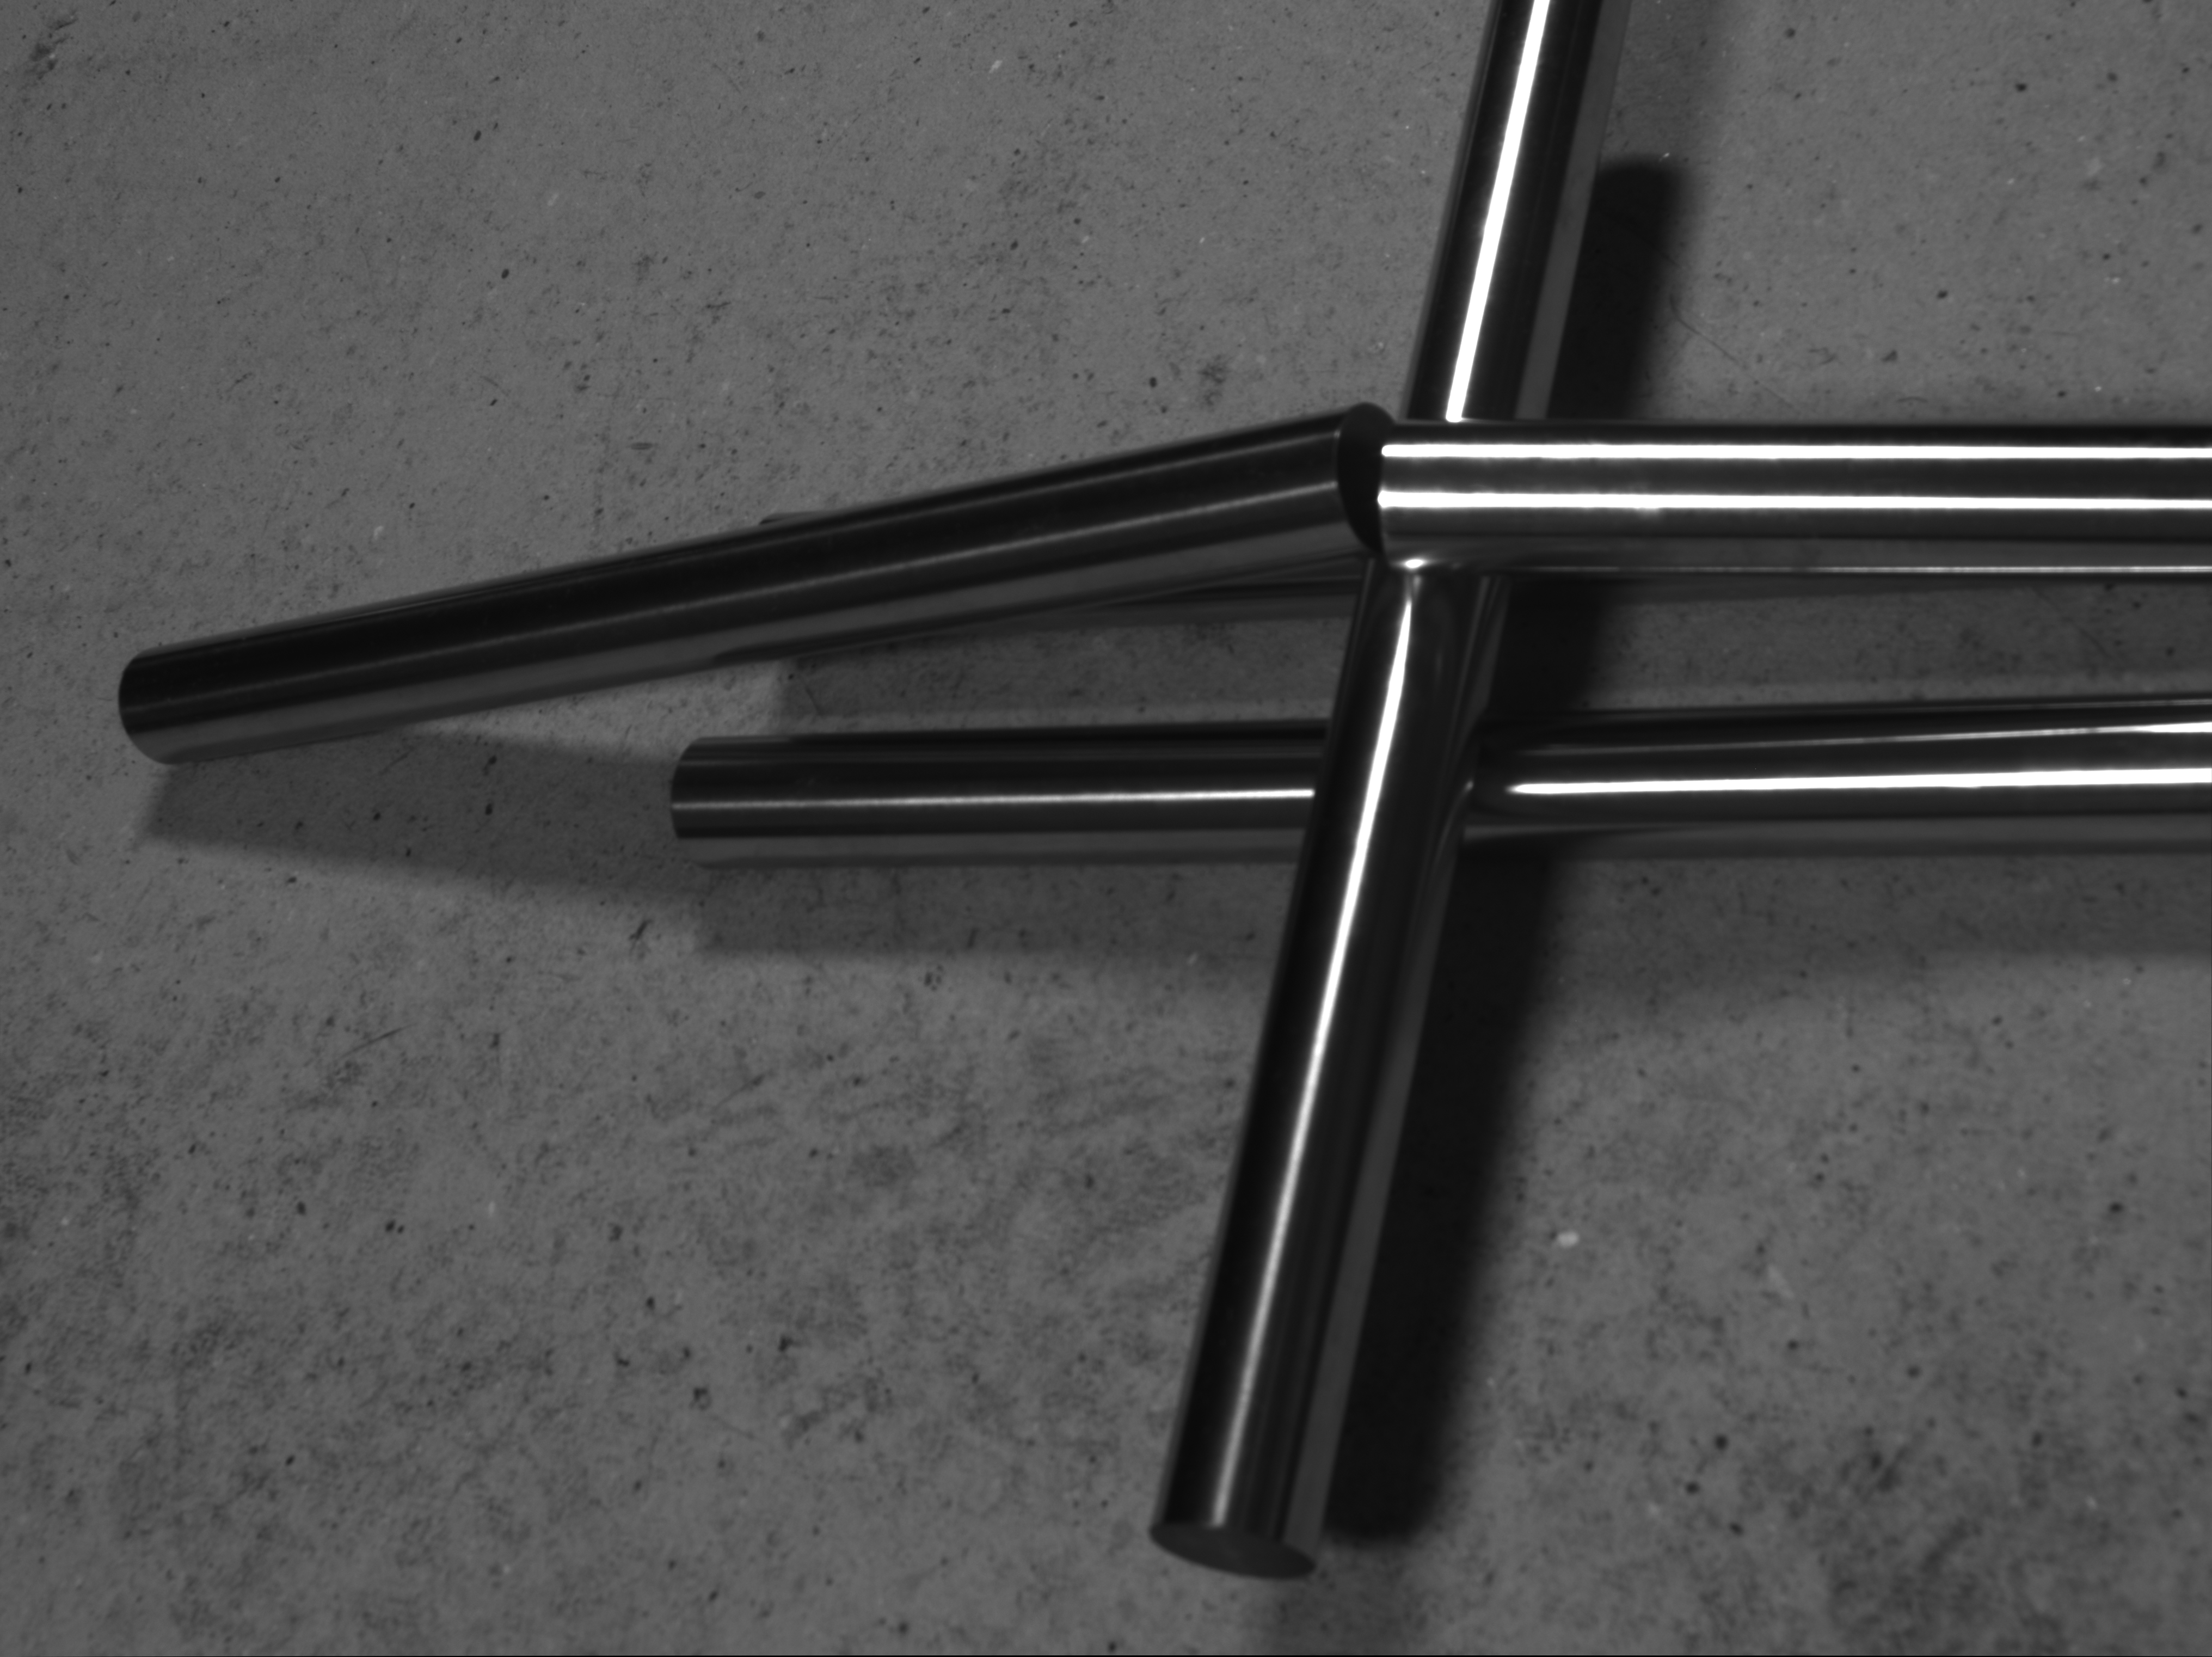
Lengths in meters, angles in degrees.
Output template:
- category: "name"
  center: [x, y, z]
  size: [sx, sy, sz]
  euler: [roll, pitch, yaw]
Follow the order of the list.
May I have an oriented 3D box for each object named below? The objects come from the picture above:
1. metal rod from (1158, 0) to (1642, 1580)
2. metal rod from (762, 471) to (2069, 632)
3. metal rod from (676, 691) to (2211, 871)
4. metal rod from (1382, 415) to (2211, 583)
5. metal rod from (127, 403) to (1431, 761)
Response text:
- category: "metal rod"
  center: [0.053, -0.026, 0.600]
  size: [0.025, 0.025, 0.300]
  euler: [0, 61, 28]
- category: "metal rod"
  center: [0.070, -0.051, 0.637]
  size: [0.299, 0.025, 0.025]
  euler: [-1, 61, 28]
- category: "metal rod"
  center: [0.059, -0.007, 0.616]
  size: [0.299, 0.025, 0.025]
  euler: [-1, 61, 28]
- category: "metal rod"
  center: [0.190, -0.048, 0.540]
  size: [0.300, 0.025, 0.025]
  euler: [2, 62, 18]
- category: "metal rod"
  center: [-0.074, -0.041, 0.677]
  size: [0.299, 0.025, 0.025]
  euler: [-7, 58, 36]
